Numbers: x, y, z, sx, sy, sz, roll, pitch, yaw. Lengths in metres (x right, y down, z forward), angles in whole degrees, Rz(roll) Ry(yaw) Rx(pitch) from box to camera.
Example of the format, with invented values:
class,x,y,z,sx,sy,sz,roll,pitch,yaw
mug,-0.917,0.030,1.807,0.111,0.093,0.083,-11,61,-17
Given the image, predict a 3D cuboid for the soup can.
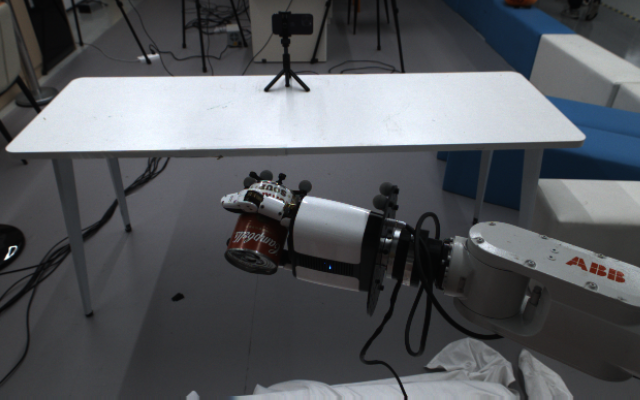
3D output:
class,x,y,z,sx,sy,sz,roll,pitch,yaw
soup can,-0.071,0.035,0.609,0.067,0.067,0.101,9,58,10
